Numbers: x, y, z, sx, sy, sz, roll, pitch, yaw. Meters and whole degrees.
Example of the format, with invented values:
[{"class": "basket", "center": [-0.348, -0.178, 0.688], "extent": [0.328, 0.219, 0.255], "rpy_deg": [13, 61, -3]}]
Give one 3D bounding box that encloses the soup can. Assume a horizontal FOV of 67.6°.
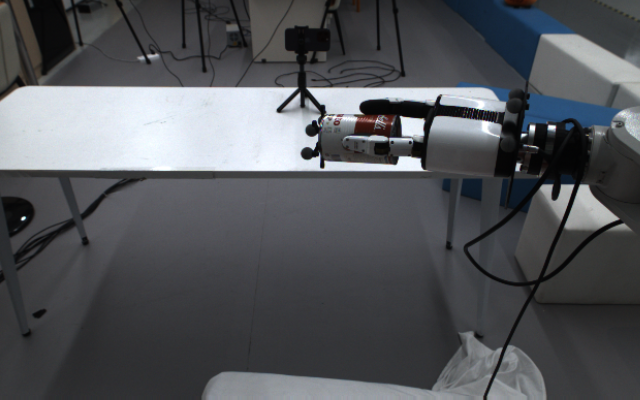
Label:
[{"class": "soup can", "center": [0.058, -0.085, 0.668], "extent": [0.101, 0.067, 0.067], "rpy_deg": [4, 34, 18]}]
